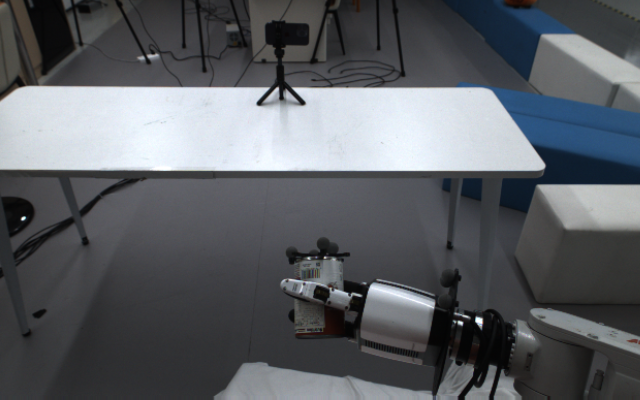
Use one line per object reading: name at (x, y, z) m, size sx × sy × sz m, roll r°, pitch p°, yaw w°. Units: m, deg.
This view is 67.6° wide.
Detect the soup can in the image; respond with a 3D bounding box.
soup can at (0.002, 0.130, 0.640) m, size 0.067 × 0.067 × 0.101 m, roll -2°, pitch 71°, yaw -5°
